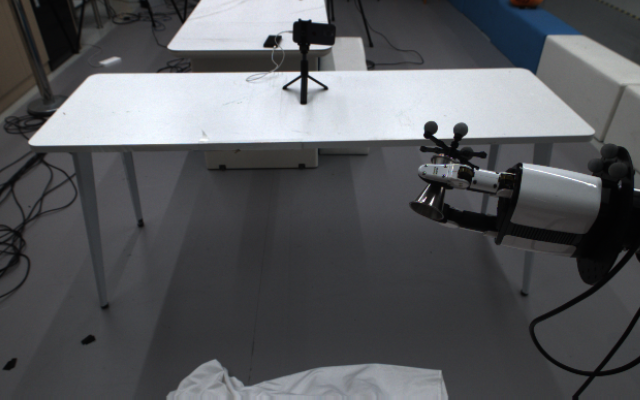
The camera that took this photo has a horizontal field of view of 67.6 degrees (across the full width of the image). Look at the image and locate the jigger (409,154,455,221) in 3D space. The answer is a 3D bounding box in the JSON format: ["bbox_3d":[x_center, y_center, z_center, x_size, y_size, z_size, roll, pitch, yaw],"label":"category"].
[{"bbox_3d":[0.141,-0.018,0.586,0.043,0.043,0.071,20,73,24],"label":"jigger"}]
